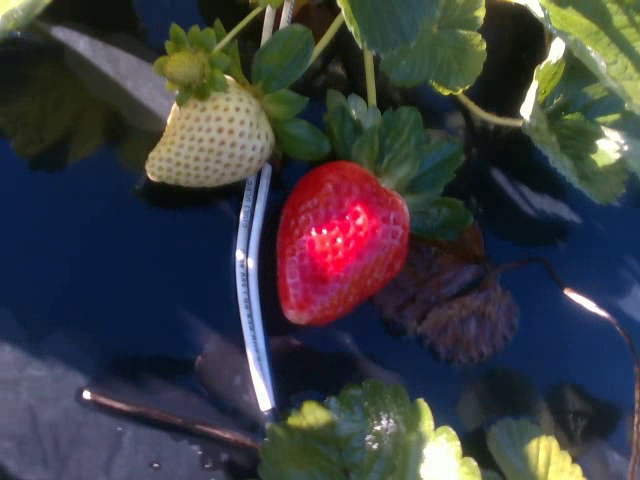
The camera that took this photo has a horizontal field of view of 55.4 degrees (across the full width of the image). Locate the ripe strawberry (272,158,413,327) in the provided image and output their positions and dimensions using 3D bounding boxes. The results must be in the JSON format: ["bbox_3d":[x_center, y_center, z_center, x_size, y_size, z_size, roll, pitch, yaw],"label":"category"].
[{"bbox_3d":[0.012,0.002,0.207,0.040,0.063,0.080,-3,38,38],"label":"ripe strawberry"}]
